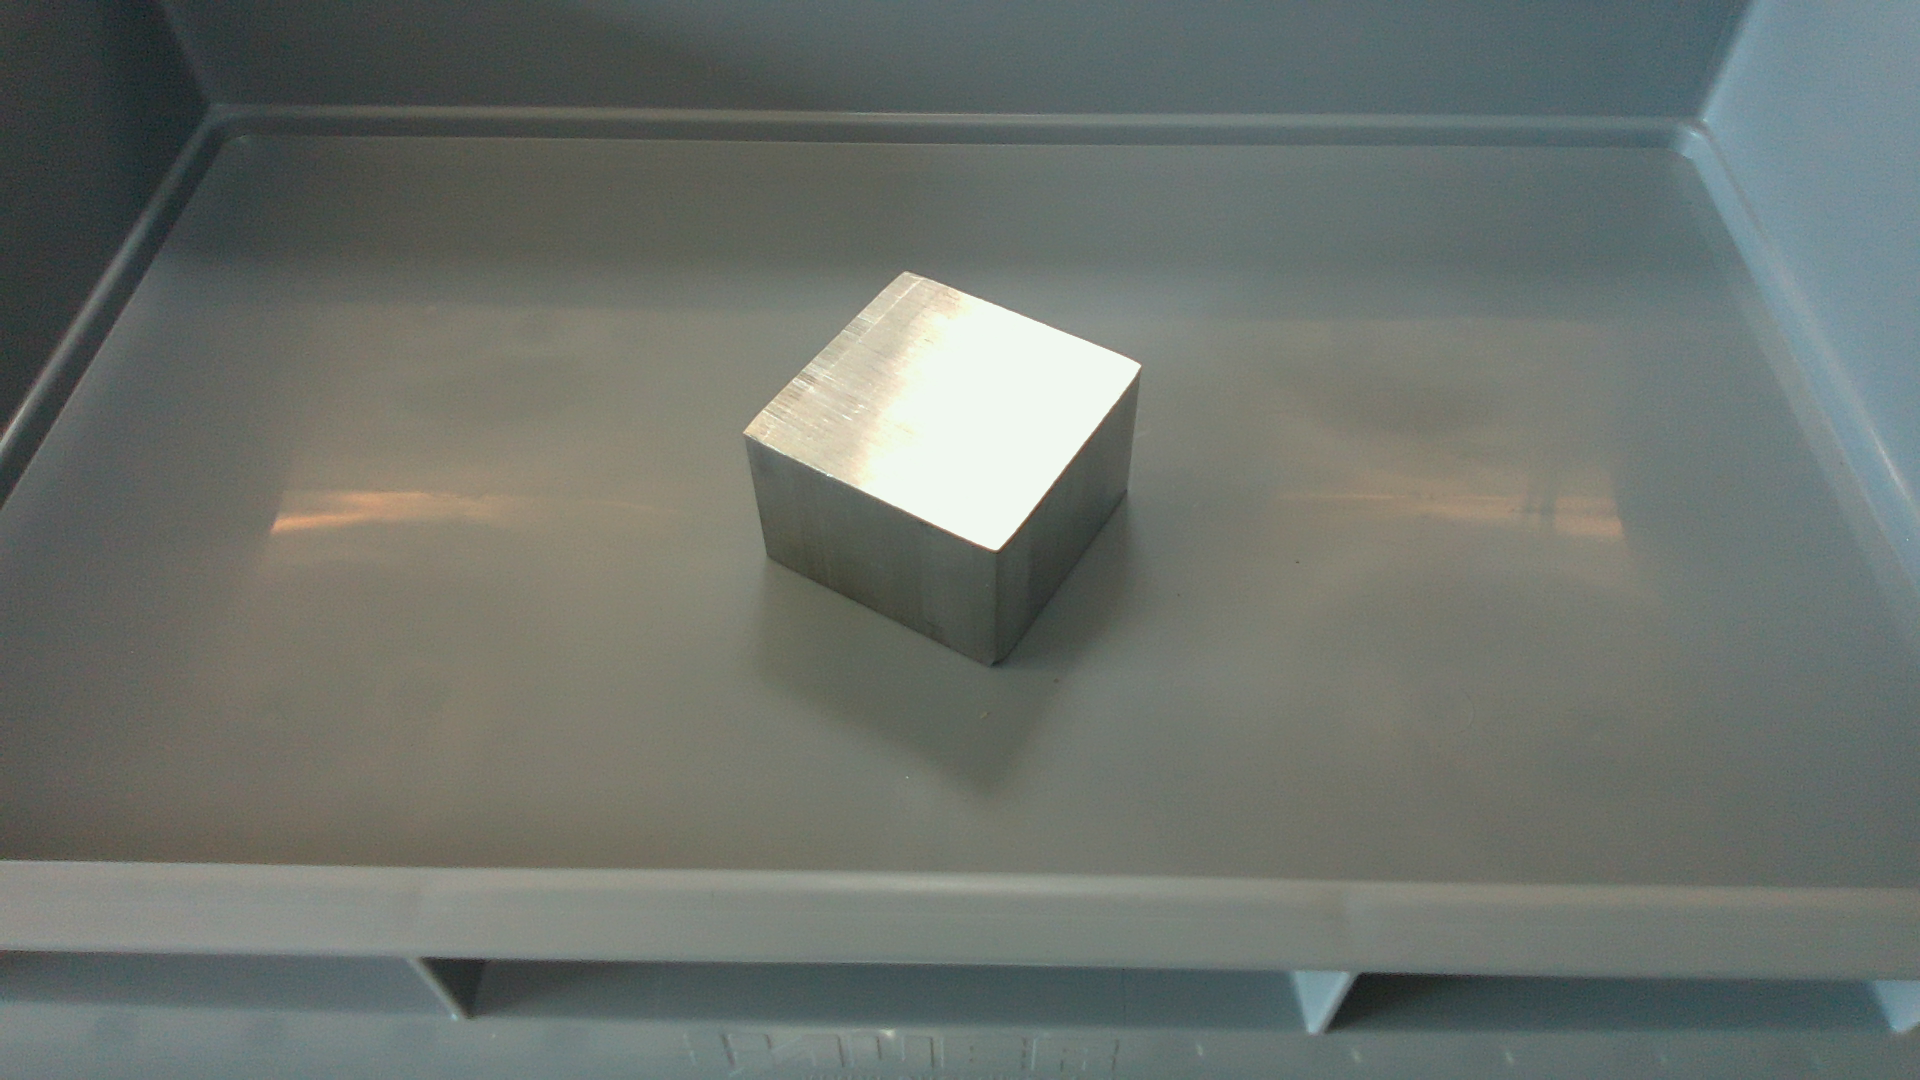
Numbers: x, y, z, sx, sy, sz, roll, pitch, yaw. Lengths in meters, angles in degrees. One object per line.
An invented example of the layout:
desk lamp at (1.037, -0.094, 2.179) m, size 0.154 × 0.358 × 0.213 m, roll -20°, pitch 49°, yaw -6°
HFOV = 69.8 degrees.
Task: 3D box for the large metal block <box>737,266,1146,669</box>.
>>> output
large metal block at (-0.004, -0.023, 0.391) m, size 0.080 × 0.050 × 0.080 m, roll 25°, pitch 54°, yaw 20°
